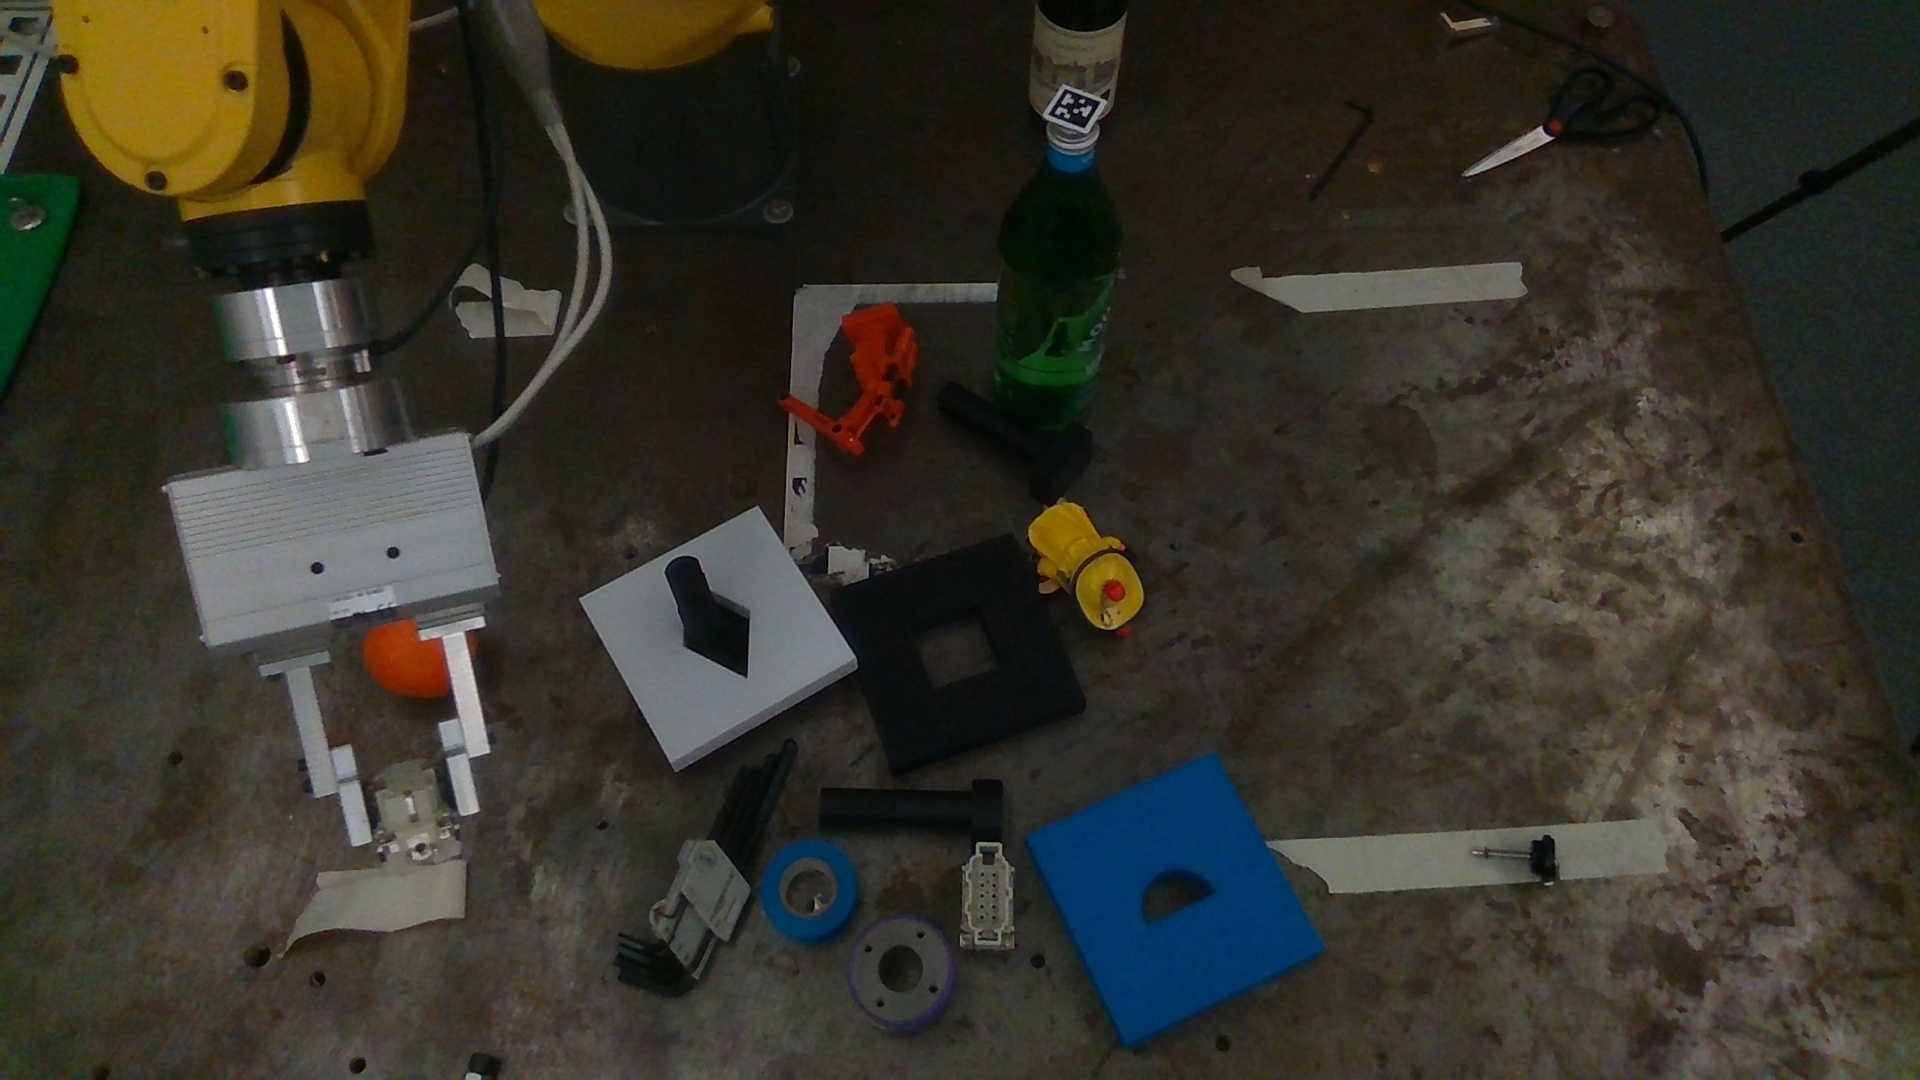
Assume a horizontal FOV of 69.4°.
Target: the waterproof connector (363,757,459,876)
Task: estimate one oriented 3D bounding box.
[{"bbox_3d":[-0.261,0.127,0.654,0.036,0.069,0.038,-20,107,-21],"label":"waterproof connector"}]
